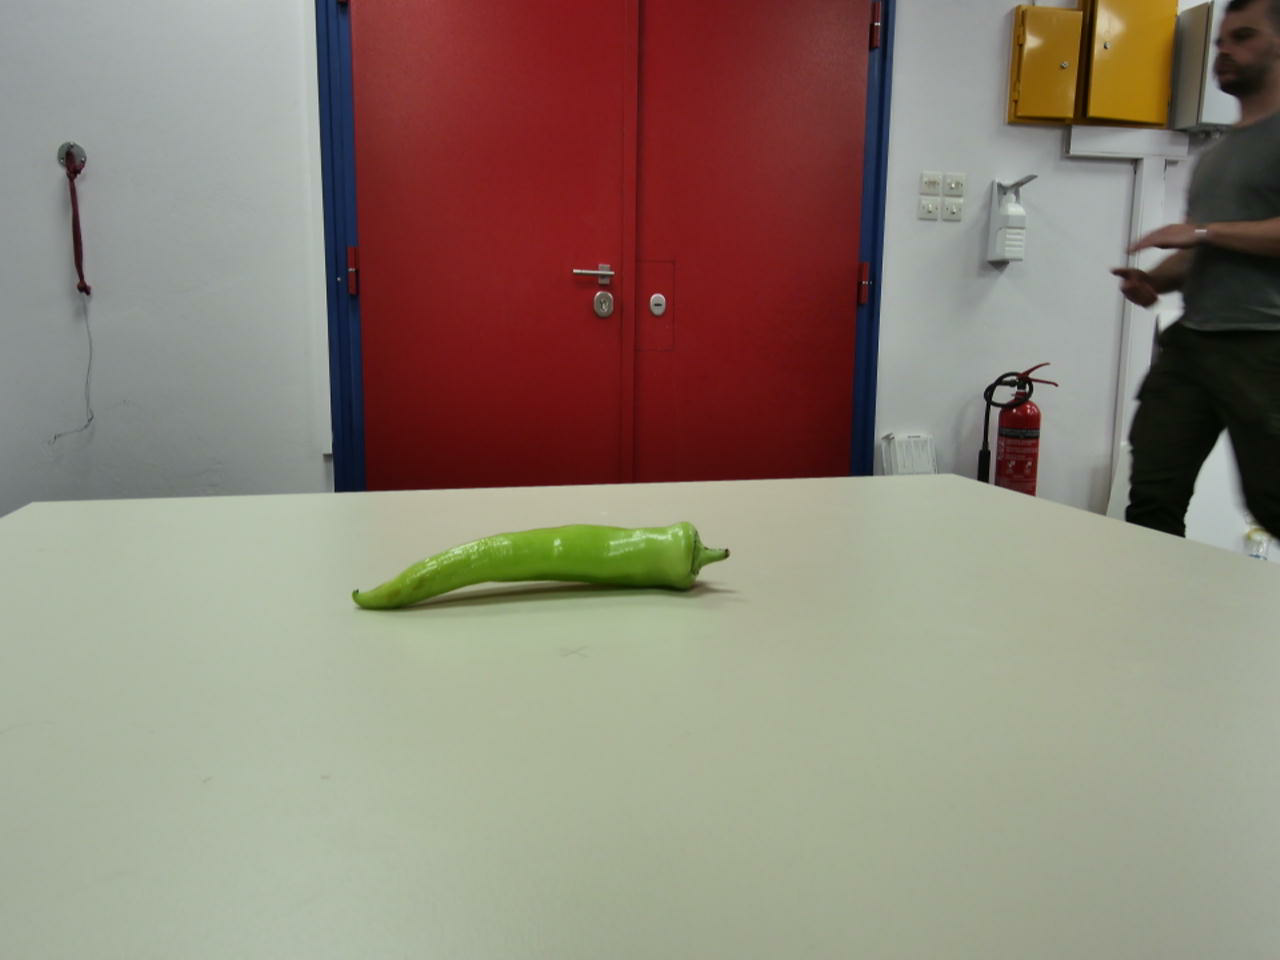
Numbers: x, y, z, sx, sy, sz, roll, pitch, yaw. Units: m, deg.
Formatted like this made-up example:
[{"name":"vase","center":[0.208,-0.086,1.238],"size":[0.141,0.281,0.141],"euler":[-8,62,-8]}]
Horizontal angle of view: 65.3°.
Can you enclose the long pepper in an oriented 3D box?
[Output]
[{"name":"long pepper","center":[-0.051,0.043,0.532],"size":[0.197,0.038,0.047],"euler":[-1,7,-11]}]
